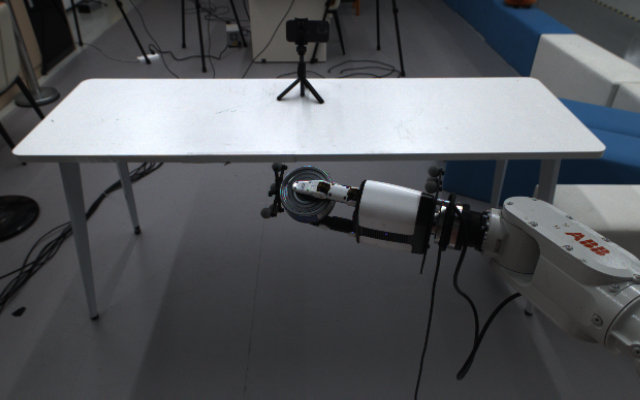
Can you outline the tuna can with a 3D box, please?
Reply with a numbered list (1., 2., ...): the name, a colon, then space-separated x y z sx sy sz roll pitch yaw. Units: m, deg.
1. tuna can: -0.018 -0.010 0.752 0.085 0.034 0.085 -2 69 6
